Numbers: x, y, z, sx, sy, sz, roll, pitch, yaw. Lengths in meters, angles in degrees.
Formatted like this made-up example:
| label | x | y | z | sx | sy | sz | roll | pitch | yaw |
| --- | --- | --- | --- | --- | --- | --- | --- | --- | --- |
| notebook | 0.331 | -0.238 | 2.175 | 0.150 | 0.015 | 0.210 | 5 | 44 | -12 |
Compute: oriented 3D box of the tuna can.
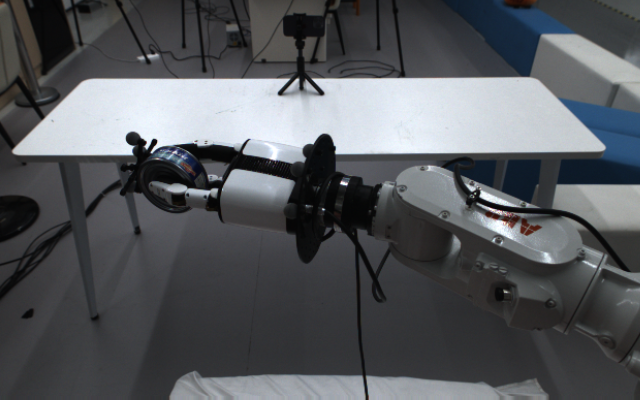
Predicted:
| label | x | y | z | sx | sy | sz | roll | pitch | yaw |
| --- | --- | --- | --- | --- | --- | --- | --- | --- | --- |
| tuna can | -0.190 | -0.027 | 0.630 | 0.085 | 0.085 | 0.034 | 8 | 36 | 9 |
